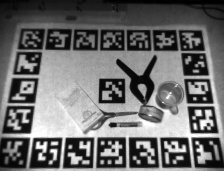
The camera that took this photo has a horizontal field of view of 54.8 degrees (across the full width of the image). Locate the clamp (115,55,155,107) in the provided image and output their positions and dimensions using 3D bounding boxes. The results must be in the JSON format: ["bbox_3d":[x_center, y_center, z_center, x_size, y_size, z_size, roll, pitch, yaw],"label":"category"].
[{"bbox_3d":[0.109,-0.016,0.842,0.166,0.037,0.202,-9,73,-5],"label":"clamp"}]

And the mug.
[{"bbox_3d":[0.199,0.061,0.786,0.093,0.082,0.116,-26,70,-9],"label":"mug"}]

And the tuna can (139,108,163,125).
[{"bbox_3d":[0.139,0.110,0.764,0.085,0.086,0.034,16,72,5],"label":"tuna can"}]

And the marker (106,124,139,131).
[{"bbox_3d":[0.037,0.153,0.782,0.121,0.020,0.019,-3,72,-2],"label":"marker"}]

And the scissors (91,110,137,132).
[{"bbox_3d":[-0.008,0.113,0.792,0.203,0.016,0.087,-10,68,-6],"label":"scissors"}]

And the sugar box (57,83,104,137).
[{"bbox_3d":[-0.115,0.086,0.782,0.093,0.045,0.175,-35,70,-12],"label":"sugar box"}]
